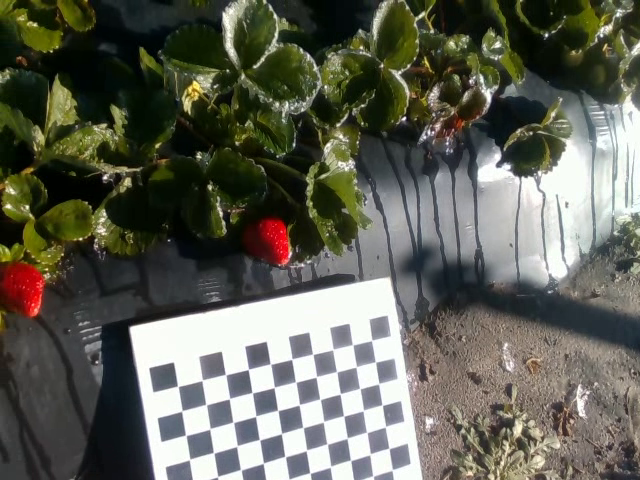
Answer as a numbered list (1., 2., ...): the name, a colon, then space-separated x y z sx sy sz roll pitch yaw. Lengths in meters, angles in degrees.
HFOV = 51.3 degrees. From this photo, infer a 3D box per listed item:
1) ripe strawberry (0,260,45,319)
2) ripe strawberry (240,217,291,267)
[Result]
1. ripe strawberry: -0.252 0.048 0.569 0.042 0.061 0.046 -25 -34 -24
2. ripe strawberry: -0.048 0.001 0.659 0.049 0.061 0.044 -17 -28 -25
